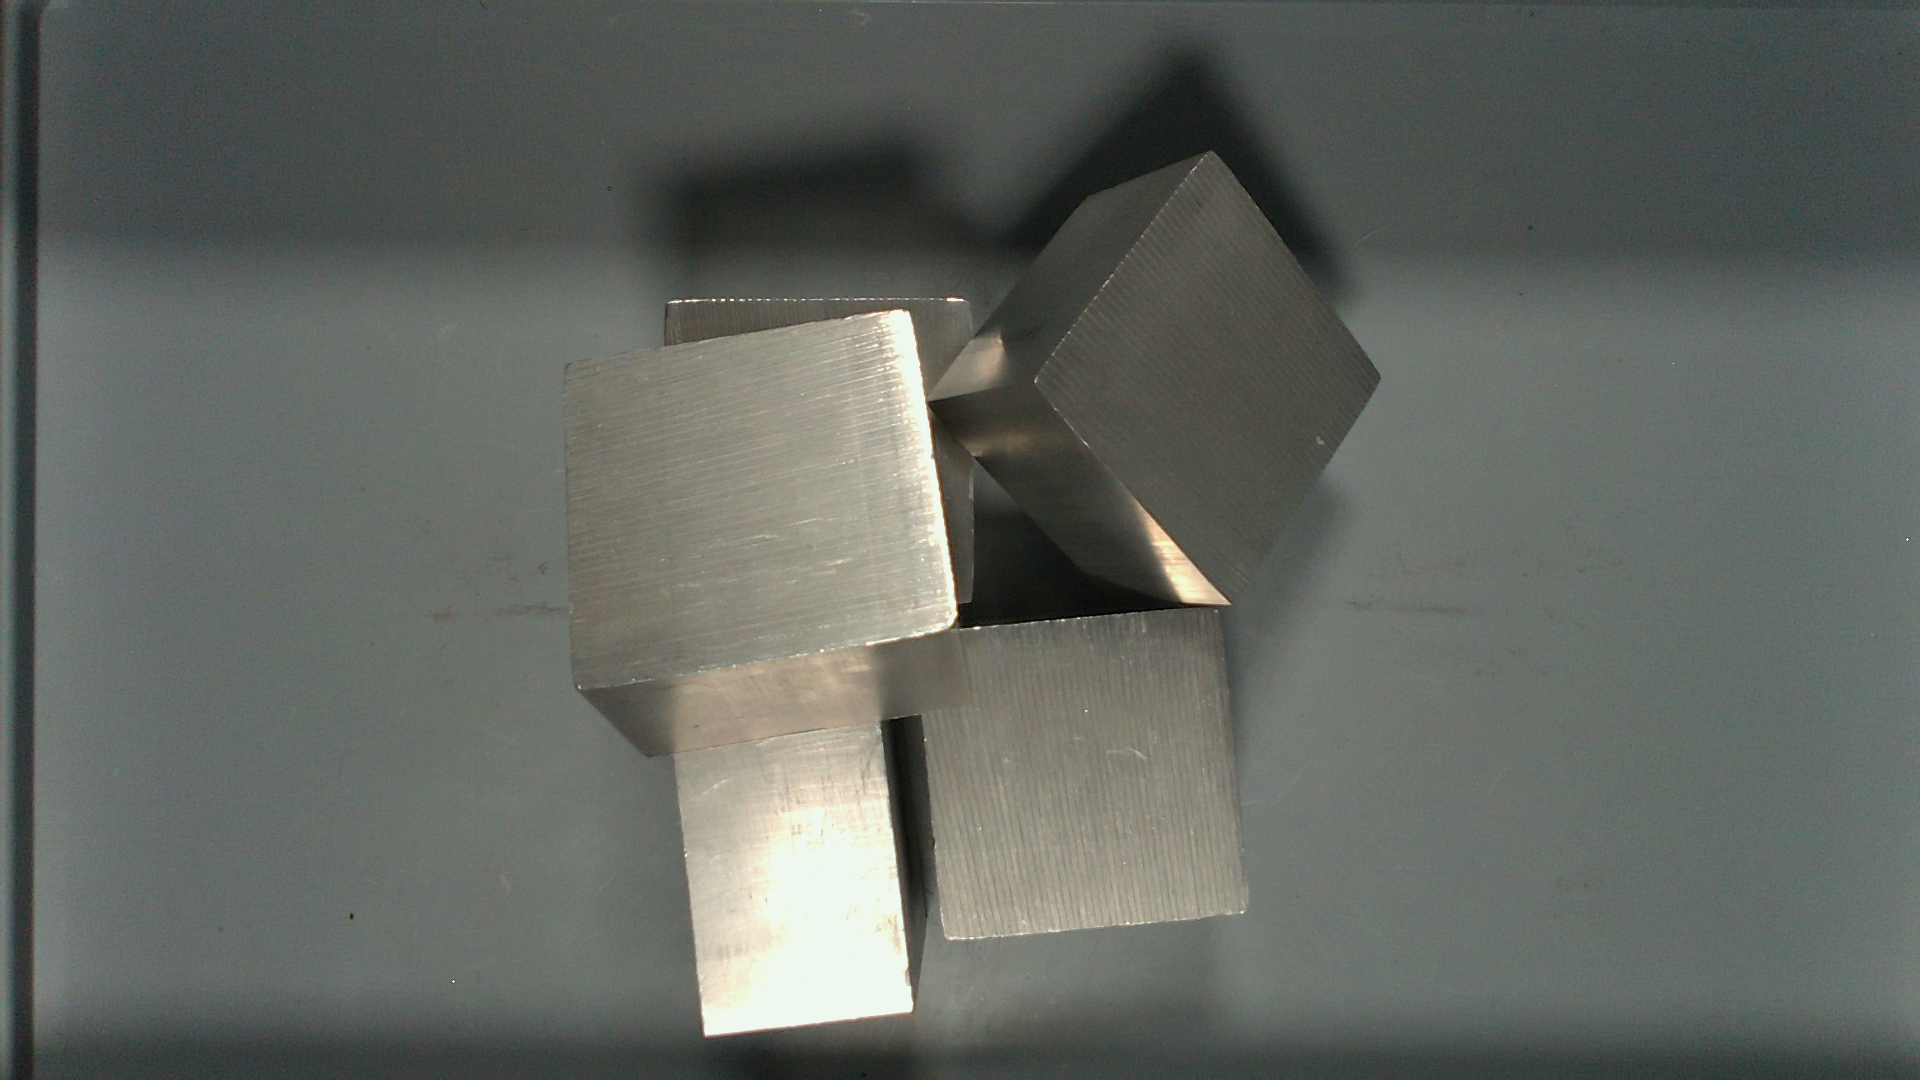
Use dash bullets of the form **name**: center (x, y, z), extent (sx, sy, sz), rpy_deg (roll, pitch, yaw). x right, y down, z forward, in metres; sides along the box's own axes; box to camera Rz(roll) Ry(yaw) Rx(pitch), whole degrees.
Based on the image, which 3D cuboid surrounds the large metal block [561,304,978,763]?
- **large metal block**: center (-0.043, -0.001, 0.316), extent (0.080, 0.050, 0.080), rpy_deg (-10, 65, 0)

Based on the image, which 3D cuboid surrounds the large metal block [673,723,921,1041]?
- **large metal block**: center (-0.040, 0.076, 0.367), extent (0.050, 0.080, 0.080), rpy_deg (-7, 90, 0)

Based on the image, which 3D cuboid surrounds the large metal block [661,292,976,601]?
- **large metal block**: center (-0.037, -0.024, 0.382), extent (0.080, 0.050, 0.080), rpy_deg (-1, 90, 0)

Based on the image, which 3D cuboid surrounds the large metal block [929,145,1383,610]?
- **large metal block**: center (0.051, -0.039, 0.356), extent (0.080, 0.050, 0.080), rpy_deg (46, 68, -23)

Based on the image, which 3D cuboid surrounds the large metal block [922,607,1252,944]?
- **large metal block**: center (0.032, 0.060, 0.380), extent (0.080, 0.050, 0.080), rpy_deg (-6, 90, 0)
